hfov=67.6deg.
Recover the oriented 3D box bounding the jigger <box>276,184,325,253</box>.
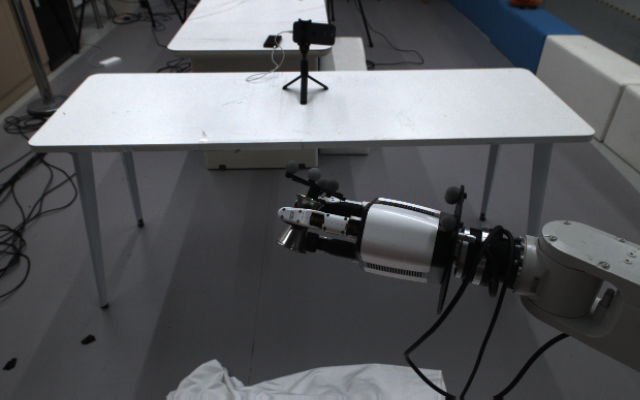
[{"bbox_3d":[-0.026,0.029,0.617,0.043,0.071,0.043,24,-3,1],"label":"jigger"}]
